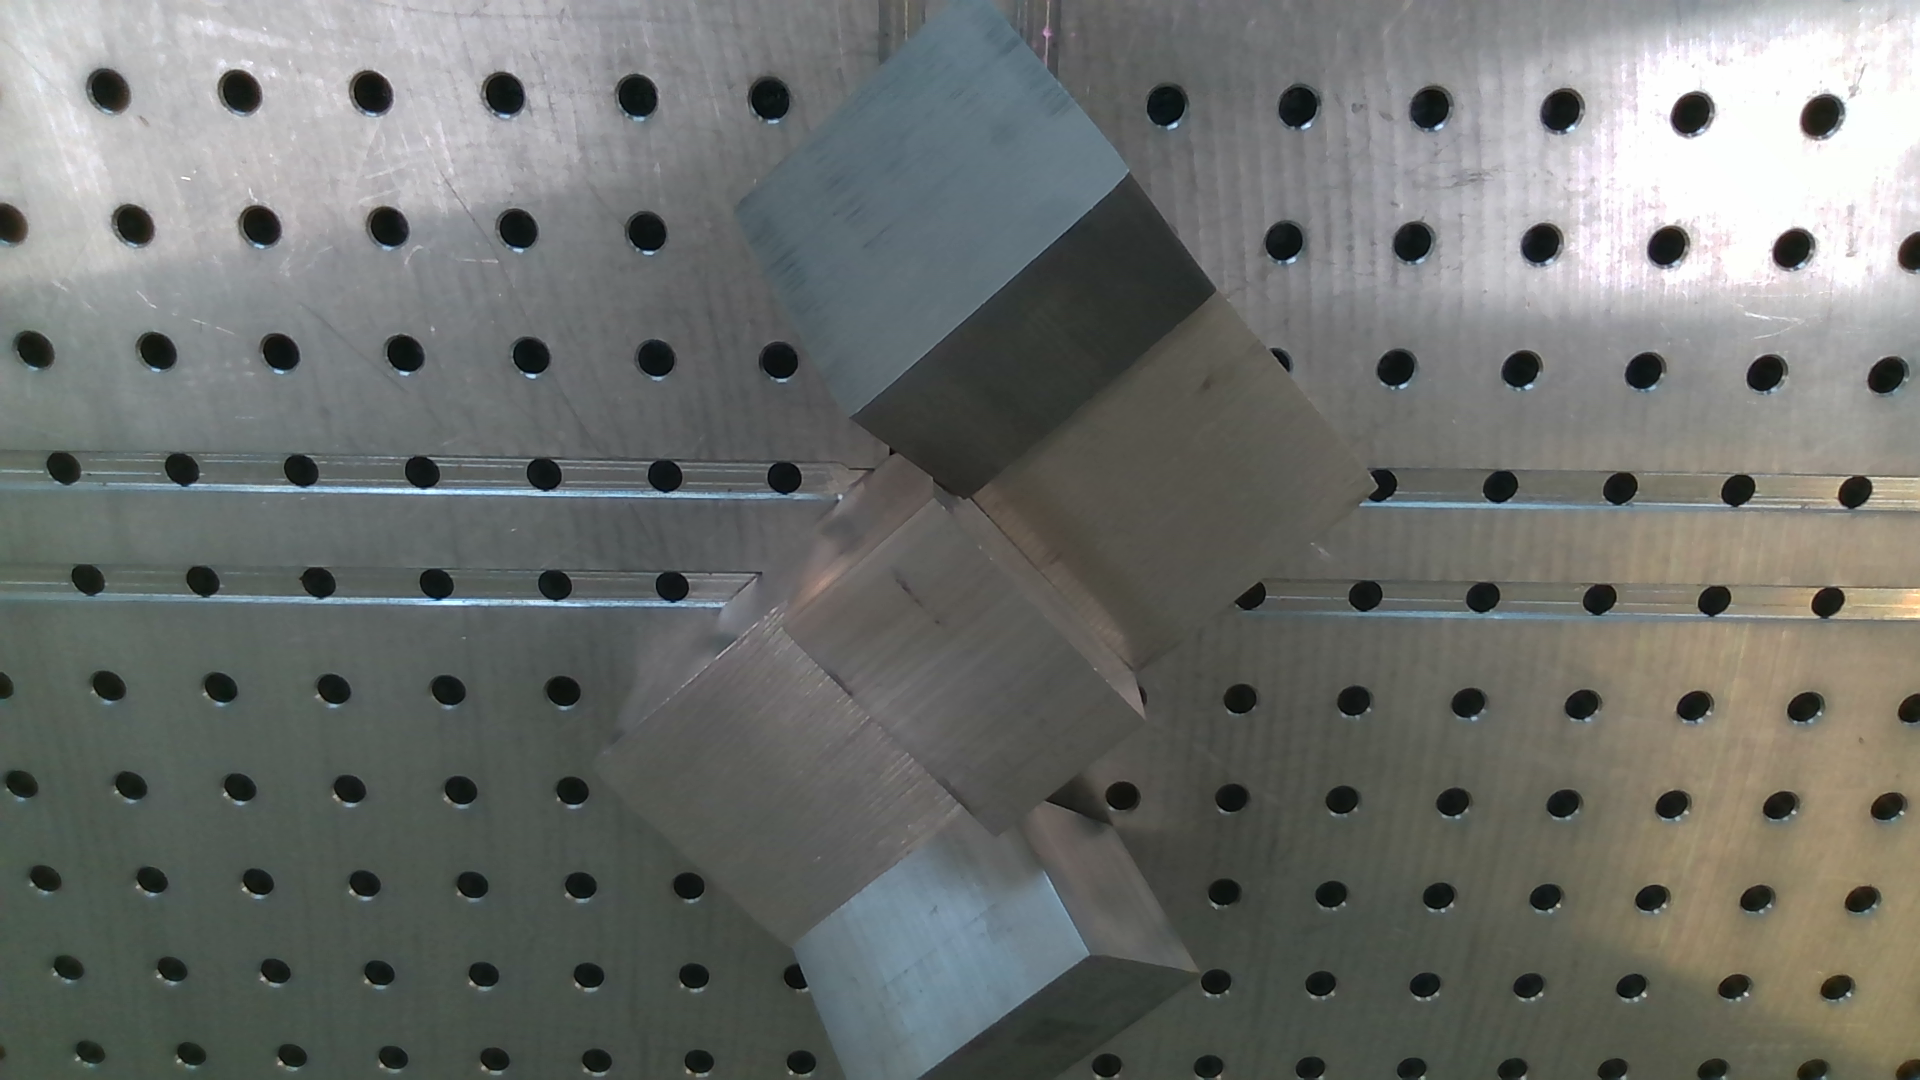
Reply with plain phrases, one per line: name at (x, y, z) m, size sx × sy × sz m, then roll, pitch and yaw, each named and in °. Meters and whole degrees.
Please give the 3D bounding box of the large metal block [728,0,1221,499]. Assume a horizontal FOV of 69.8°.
large metal block at (0.001, -0.072, 0.332) m, size 0.080 × 0.080 × 0.050 m, roll -39°, pitch 144°, yaw 13°

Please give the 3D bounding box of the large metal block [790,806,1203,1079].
large metal block at (0.012, 0.123, 0.405) m, size 0.080 × 0.050 × 0.080 m, roll -39°, pitch 145°, yaw 13°

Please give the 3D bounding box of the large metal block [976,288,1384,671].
large metal block at (0.052, -0.026, 0.372) m, size 0.080 × 0.050 × 0.080 m, roll -40°, pitch 104°, yaw 14°

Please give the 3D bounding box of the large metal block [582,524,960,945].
large metal block at (-0.047, 0.055, 0.402) m, size 0.080 × 0.050 × 0.080 m, roll -40°, pitch 105°, yaw 12°

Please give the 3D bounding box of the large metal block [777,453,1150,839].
large metal block at (0.002, 0.019, 0.373) m, size 0.050 × 0.080 × 0.080 m, roll -40°, pitch 105°, yaw 14°
